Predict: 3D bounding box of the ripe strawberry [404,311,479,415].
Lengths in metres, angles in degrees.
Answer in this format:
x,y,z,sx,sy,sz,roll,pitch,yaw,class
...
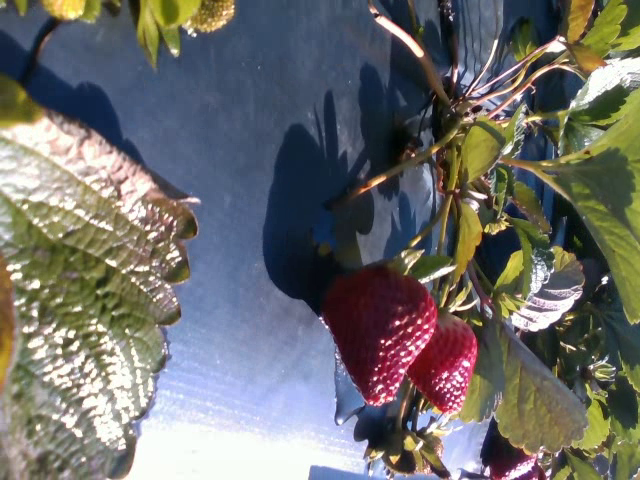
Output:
x,y,z,sx,sy,sz,roll,pitch,yaw,class
0.055,0.057,0.266,0.042,0.049,0.039,-5,-12,-25,ripe strawberry

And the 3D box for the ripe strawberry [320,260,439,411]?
x,y,z,sx,sy,sz,roll,pitch,yaw,class
0.021,0.035,0.205,0.044,0.050,0.051,-4,-31,9,ripe strawberry
